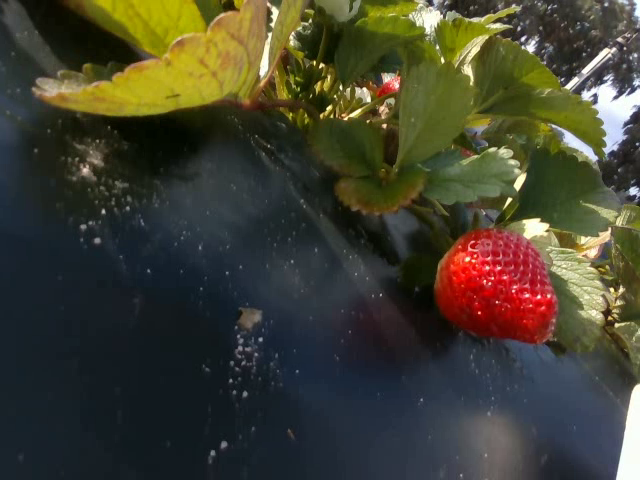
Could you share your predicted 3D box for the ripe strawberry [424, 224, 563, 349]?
[{"bbox_3d":[0.055,0.015,0.172,0.041,0.041,0.047,2,21,-24],"label":"ripe strawberry"}]
